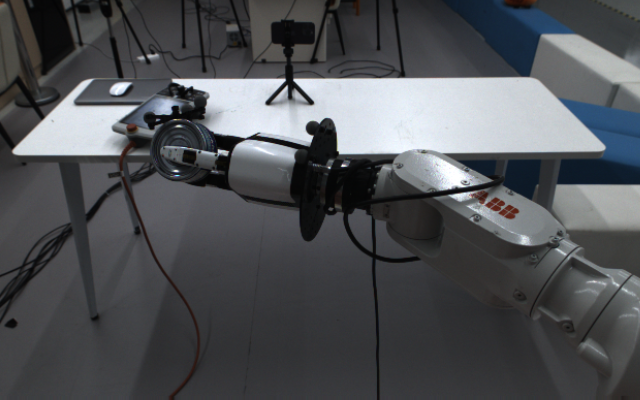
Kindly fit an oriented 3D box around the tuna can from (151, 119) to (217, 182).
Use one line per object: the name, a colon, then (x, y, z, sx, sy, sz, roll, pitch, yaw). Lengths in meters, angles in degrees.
tuna can: (-0.185, -0.067, 0.657, 0.085, 0.085, 0.034, 12, 3, 14)
